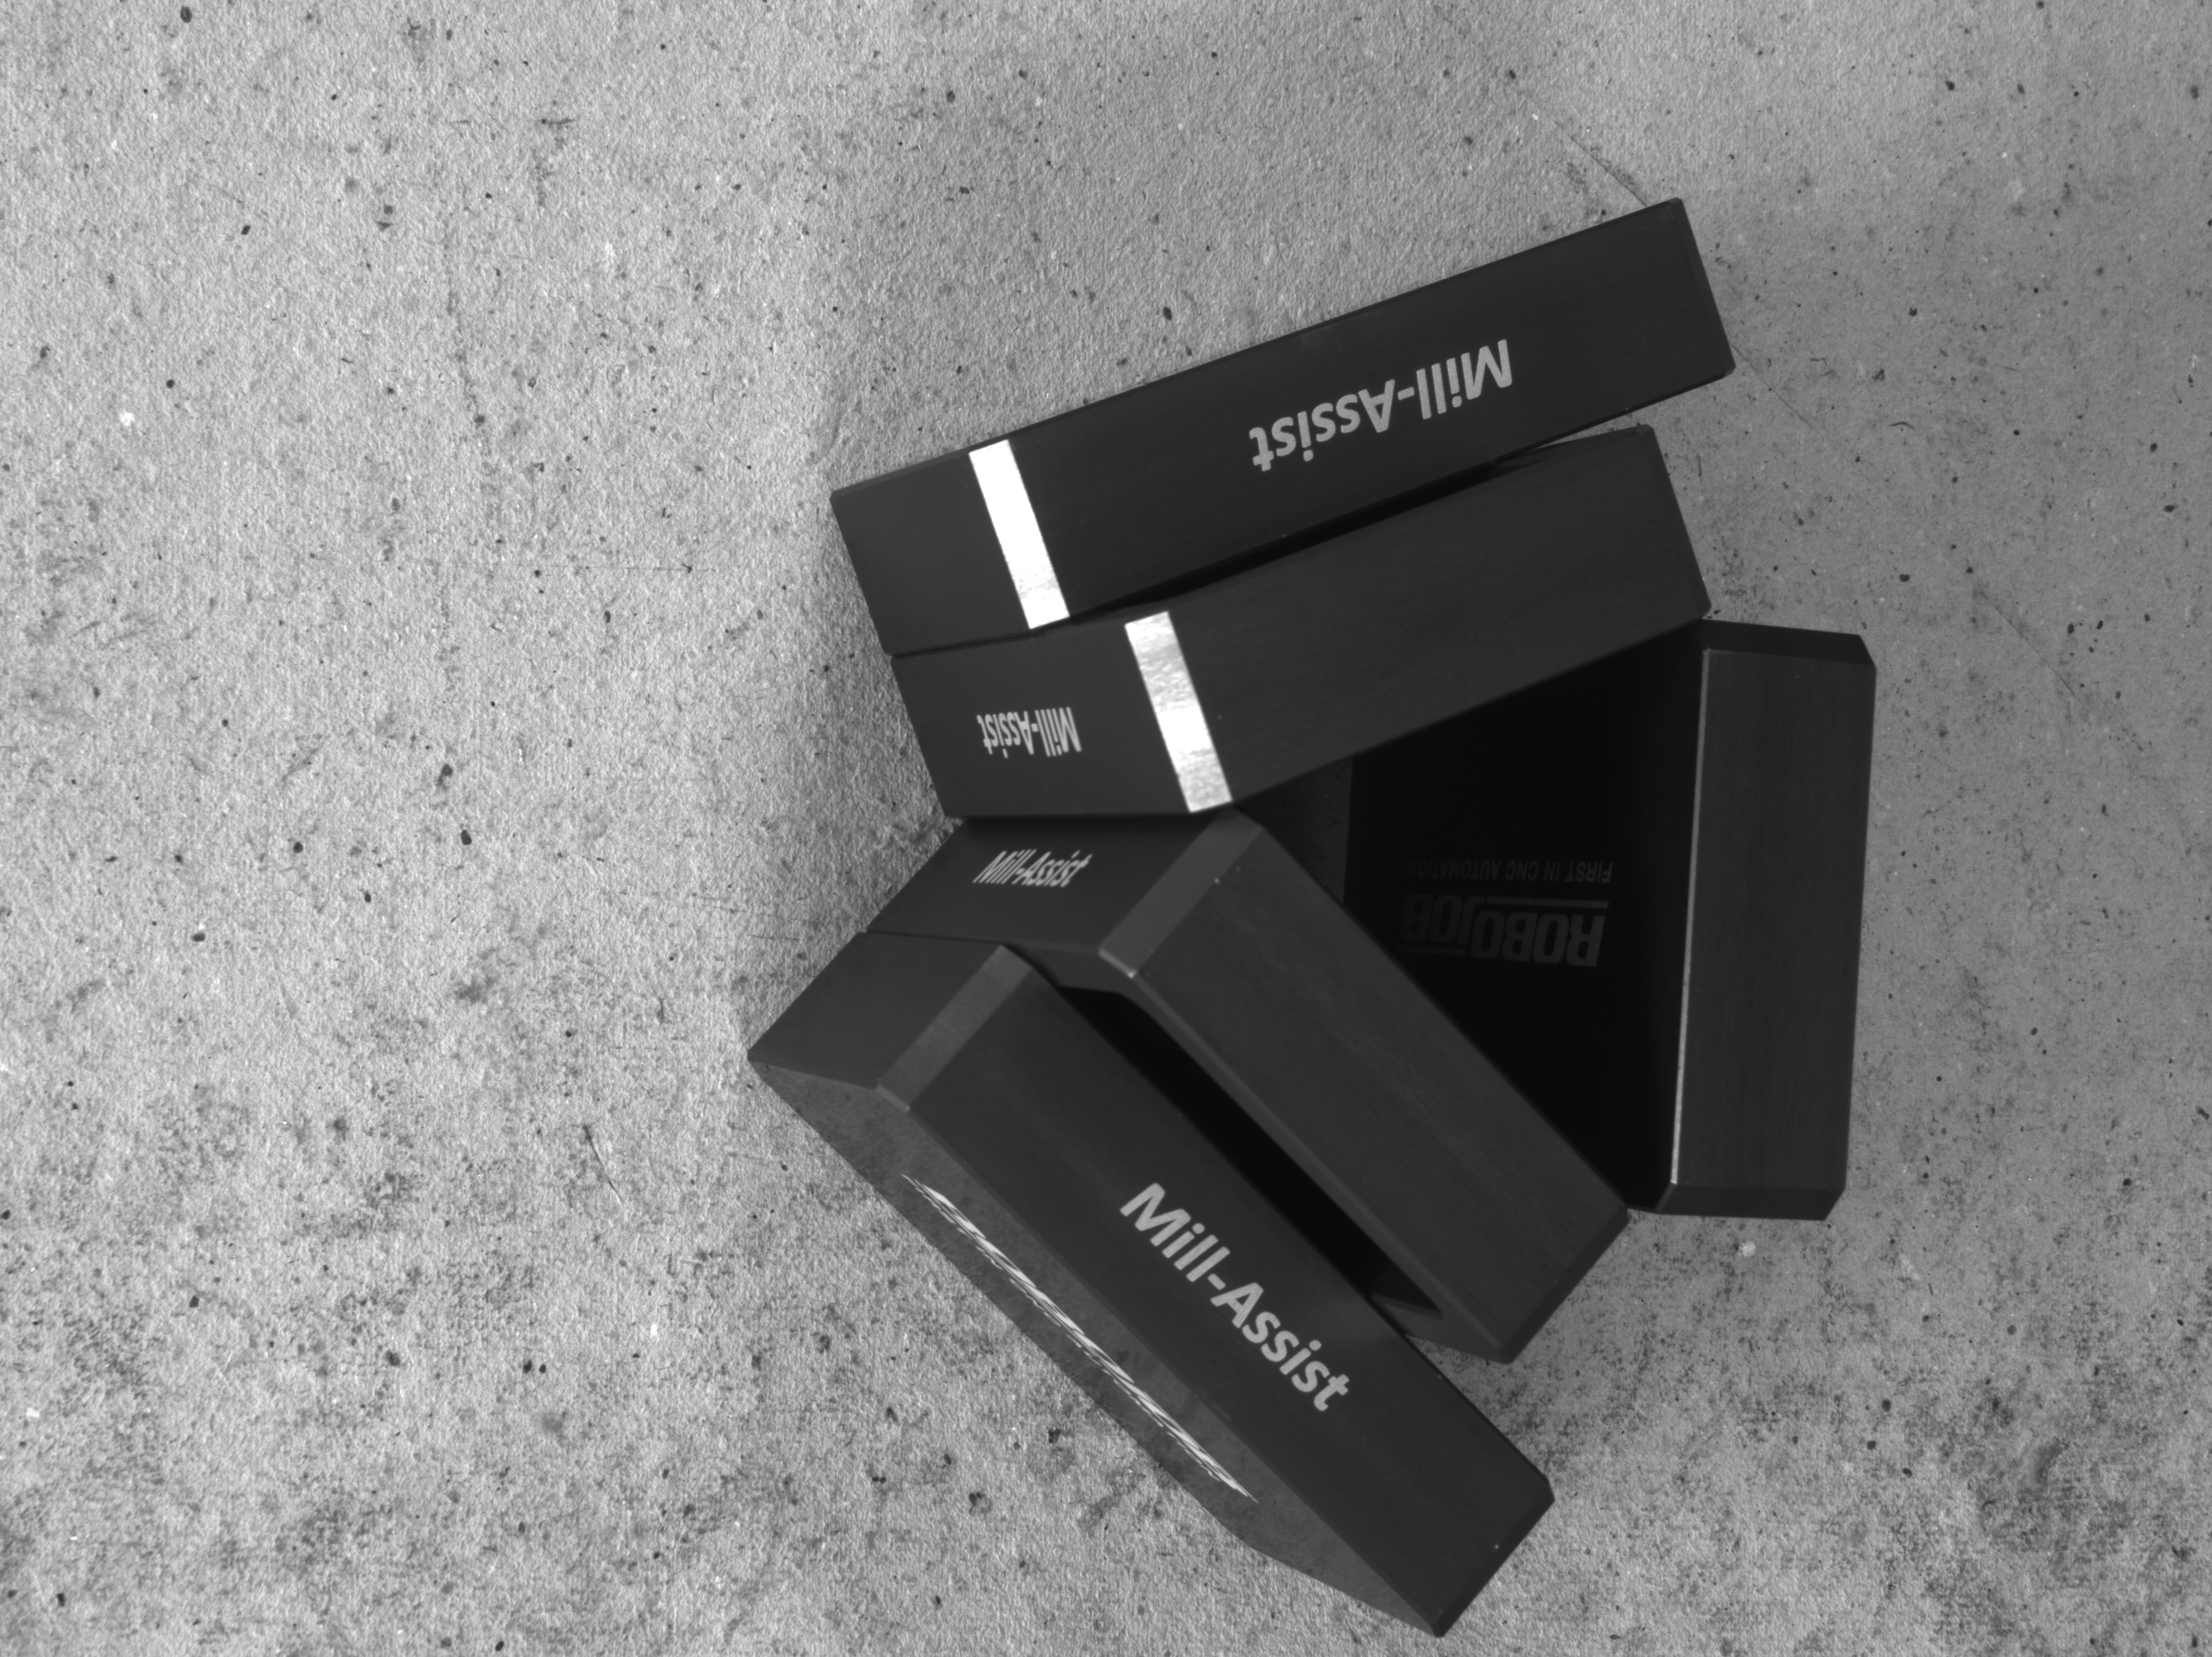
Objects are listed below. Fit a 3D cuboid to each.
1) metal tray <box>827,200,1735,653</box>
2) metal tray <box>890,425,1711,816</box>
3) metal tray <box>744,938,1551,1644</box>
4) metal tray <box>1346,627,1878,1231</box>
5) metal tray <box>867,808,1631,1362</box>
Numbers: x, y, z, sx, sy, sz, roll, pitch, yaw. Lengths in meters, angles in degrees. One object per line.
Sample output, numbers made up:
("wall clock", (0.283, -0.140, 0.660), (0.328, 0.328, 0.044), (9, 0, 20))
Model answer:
("metal tray", (0.028, -0.066, 0.619), (0.130, 0.090, 0.030), (-21, 97, -19))
("metal tray", (0.027, -0.031, 0.597), (0.090, 0.130, 0.030), (-21, 97, -18))
("metal tray", (0.005, 0.074, 0.610), (0.130, 0.090, 0.030), (46, 76, -14))
("metal tray", (0.079, 0.015, 0.616), (0.030, 0.130, 0.090), (5, 88, -19))
("metal tray", (0.019, 0.038, 0.594), (0.090, 0.130, 0.030), (45, 76, -14))
